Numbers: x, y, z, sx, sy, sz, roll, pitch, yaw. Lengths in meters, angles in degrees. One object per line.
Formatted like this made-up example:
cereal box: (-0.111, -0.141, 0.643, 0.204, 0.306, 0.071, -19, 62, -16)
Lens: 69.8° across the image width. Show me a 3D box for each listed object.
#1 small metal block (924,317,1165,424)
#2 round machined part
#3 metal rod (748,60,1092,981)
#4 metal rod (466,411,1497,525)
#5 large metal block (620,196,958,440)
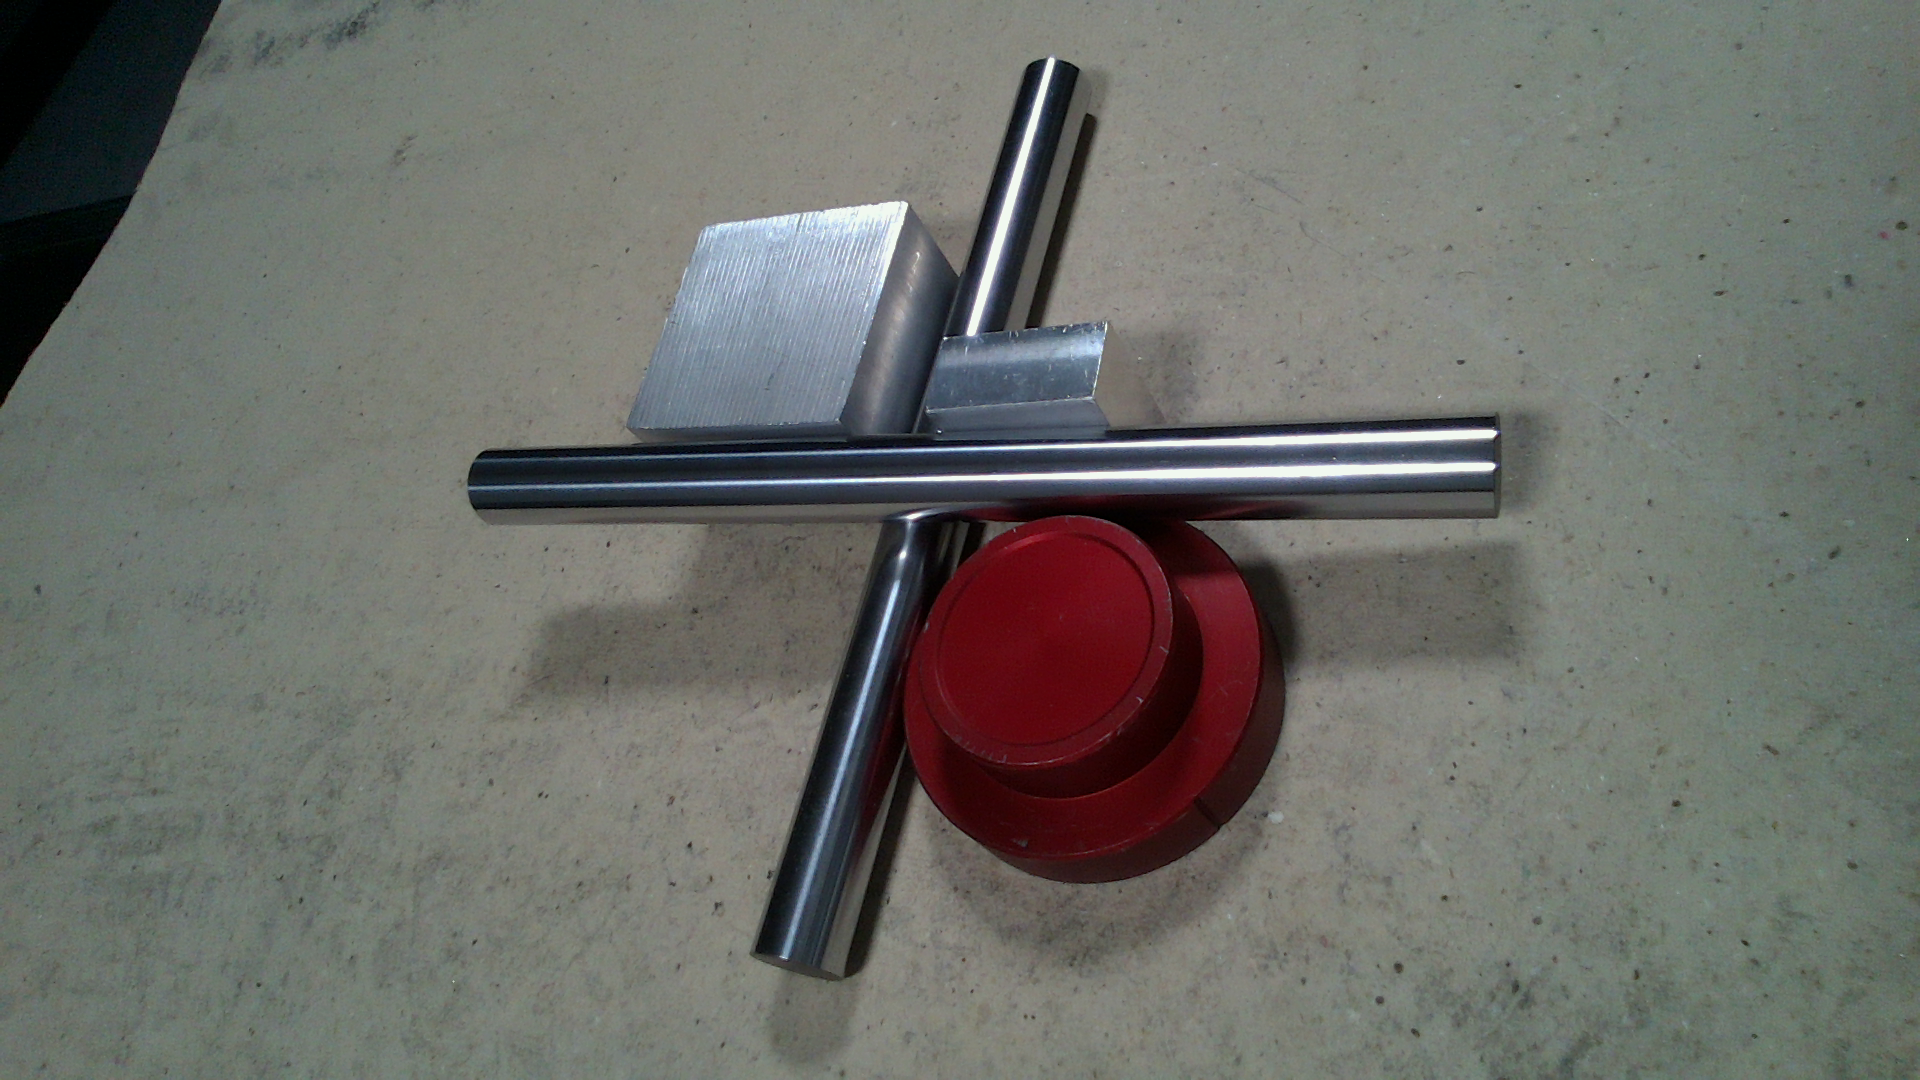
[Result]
small metal block: (0.025, -0.035, 0.386, 0.050, 0.050, 0.025, -2, 61, 28)
round machined part: (0.028, 0.033, 0.347, 0.098, 0.042, 0.098, -13, 56, 21)
metal rod: (-0.005, -0.023, 0.411, 0.025, 0.025, 0.300, 1, 62, 29)
metal rod: (-0.012, -0.017, 0.379, 0.299, 0.025, 0.025, 0, 61, 24)
large metal block: (-0.049, -0.058, 0.439, 0.080, 0.050, 0.080, 1, 62, 29)
